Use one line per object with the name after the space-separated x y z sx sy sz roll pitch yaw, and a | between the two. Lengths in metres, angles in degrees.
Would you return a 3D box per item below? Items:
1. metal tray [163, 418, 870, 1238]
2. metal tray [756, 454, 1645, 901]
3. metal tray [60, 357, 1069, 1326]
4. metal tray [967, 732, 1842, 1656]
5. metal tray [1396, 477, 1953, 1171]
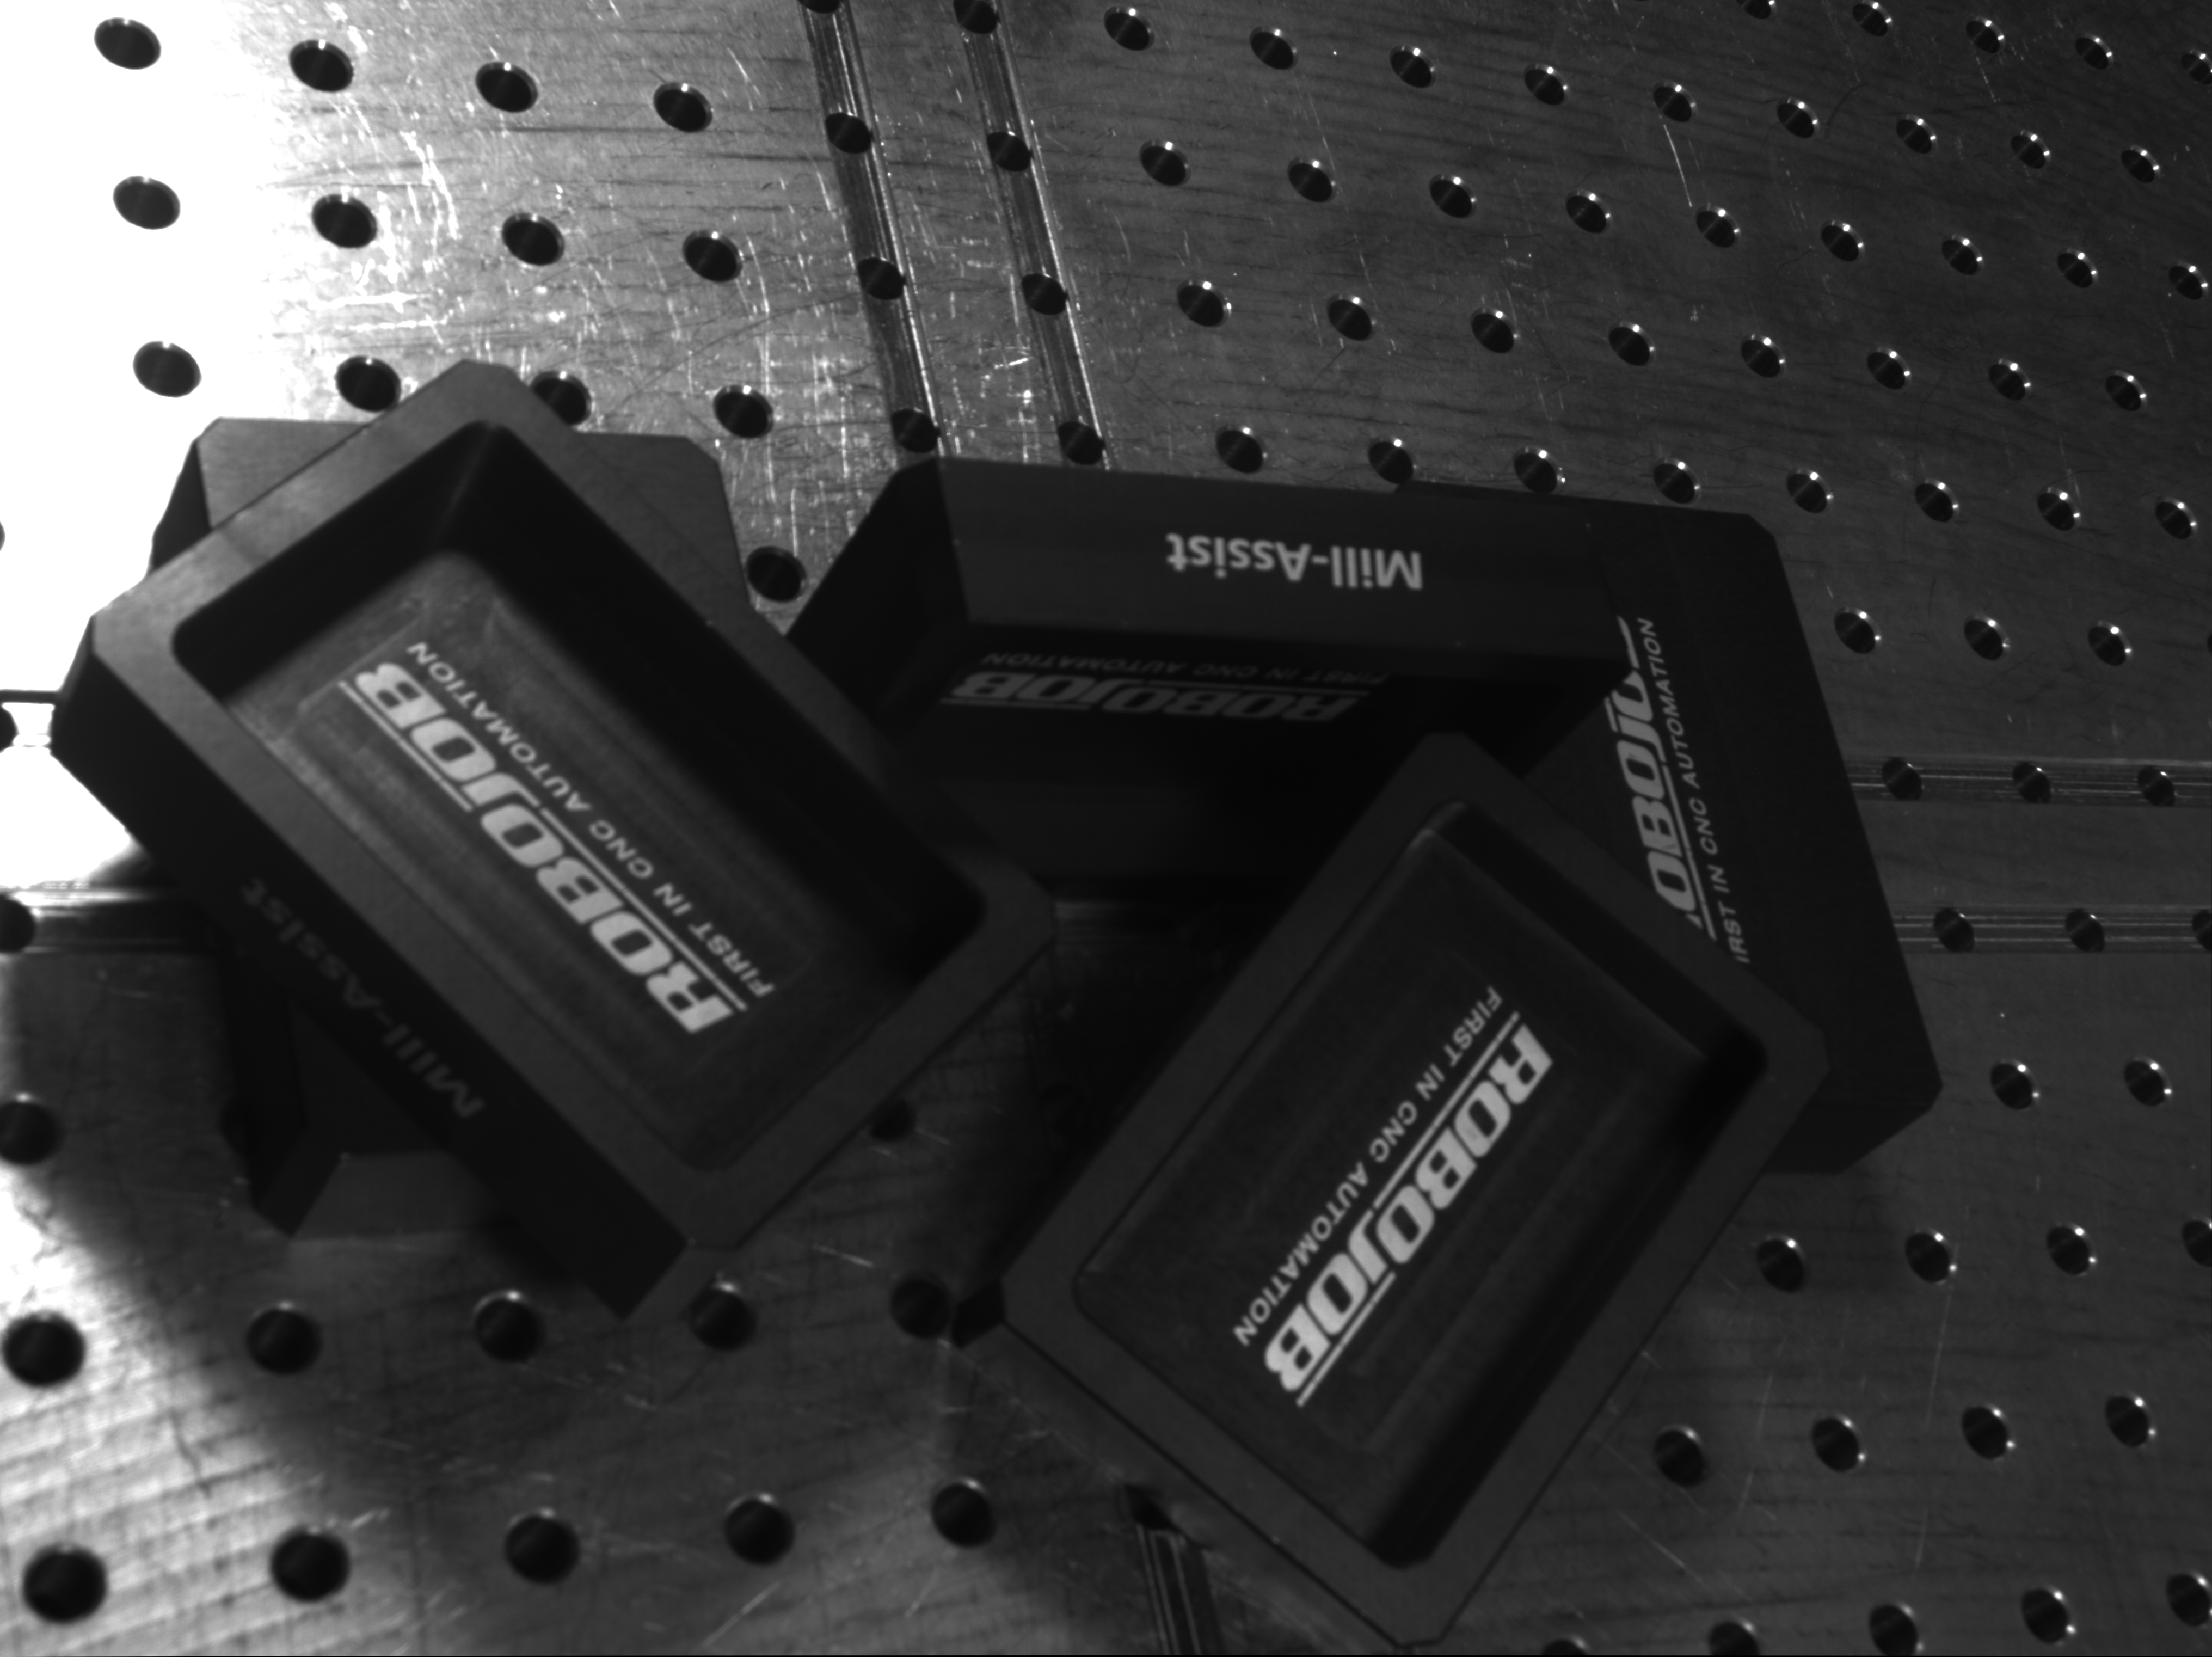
-0.096 -0.002 0.590 0.090 0.030 0.130 -1 63 -28 | metal tray
0.013 -0.022 0.621 0.130 0.090 0.030 2 61 -27 | metal tray
-0.080 0.000 0.556 0.130 0.030 0.090 45 51 2 | metal tray
0.051 0.060 0.606 0.090 0.030 0.130 40 68 -2 | metal tray
0.100 -0.001 0.692 0.090 0.030 0.130 3 60 -27 | metal tray
